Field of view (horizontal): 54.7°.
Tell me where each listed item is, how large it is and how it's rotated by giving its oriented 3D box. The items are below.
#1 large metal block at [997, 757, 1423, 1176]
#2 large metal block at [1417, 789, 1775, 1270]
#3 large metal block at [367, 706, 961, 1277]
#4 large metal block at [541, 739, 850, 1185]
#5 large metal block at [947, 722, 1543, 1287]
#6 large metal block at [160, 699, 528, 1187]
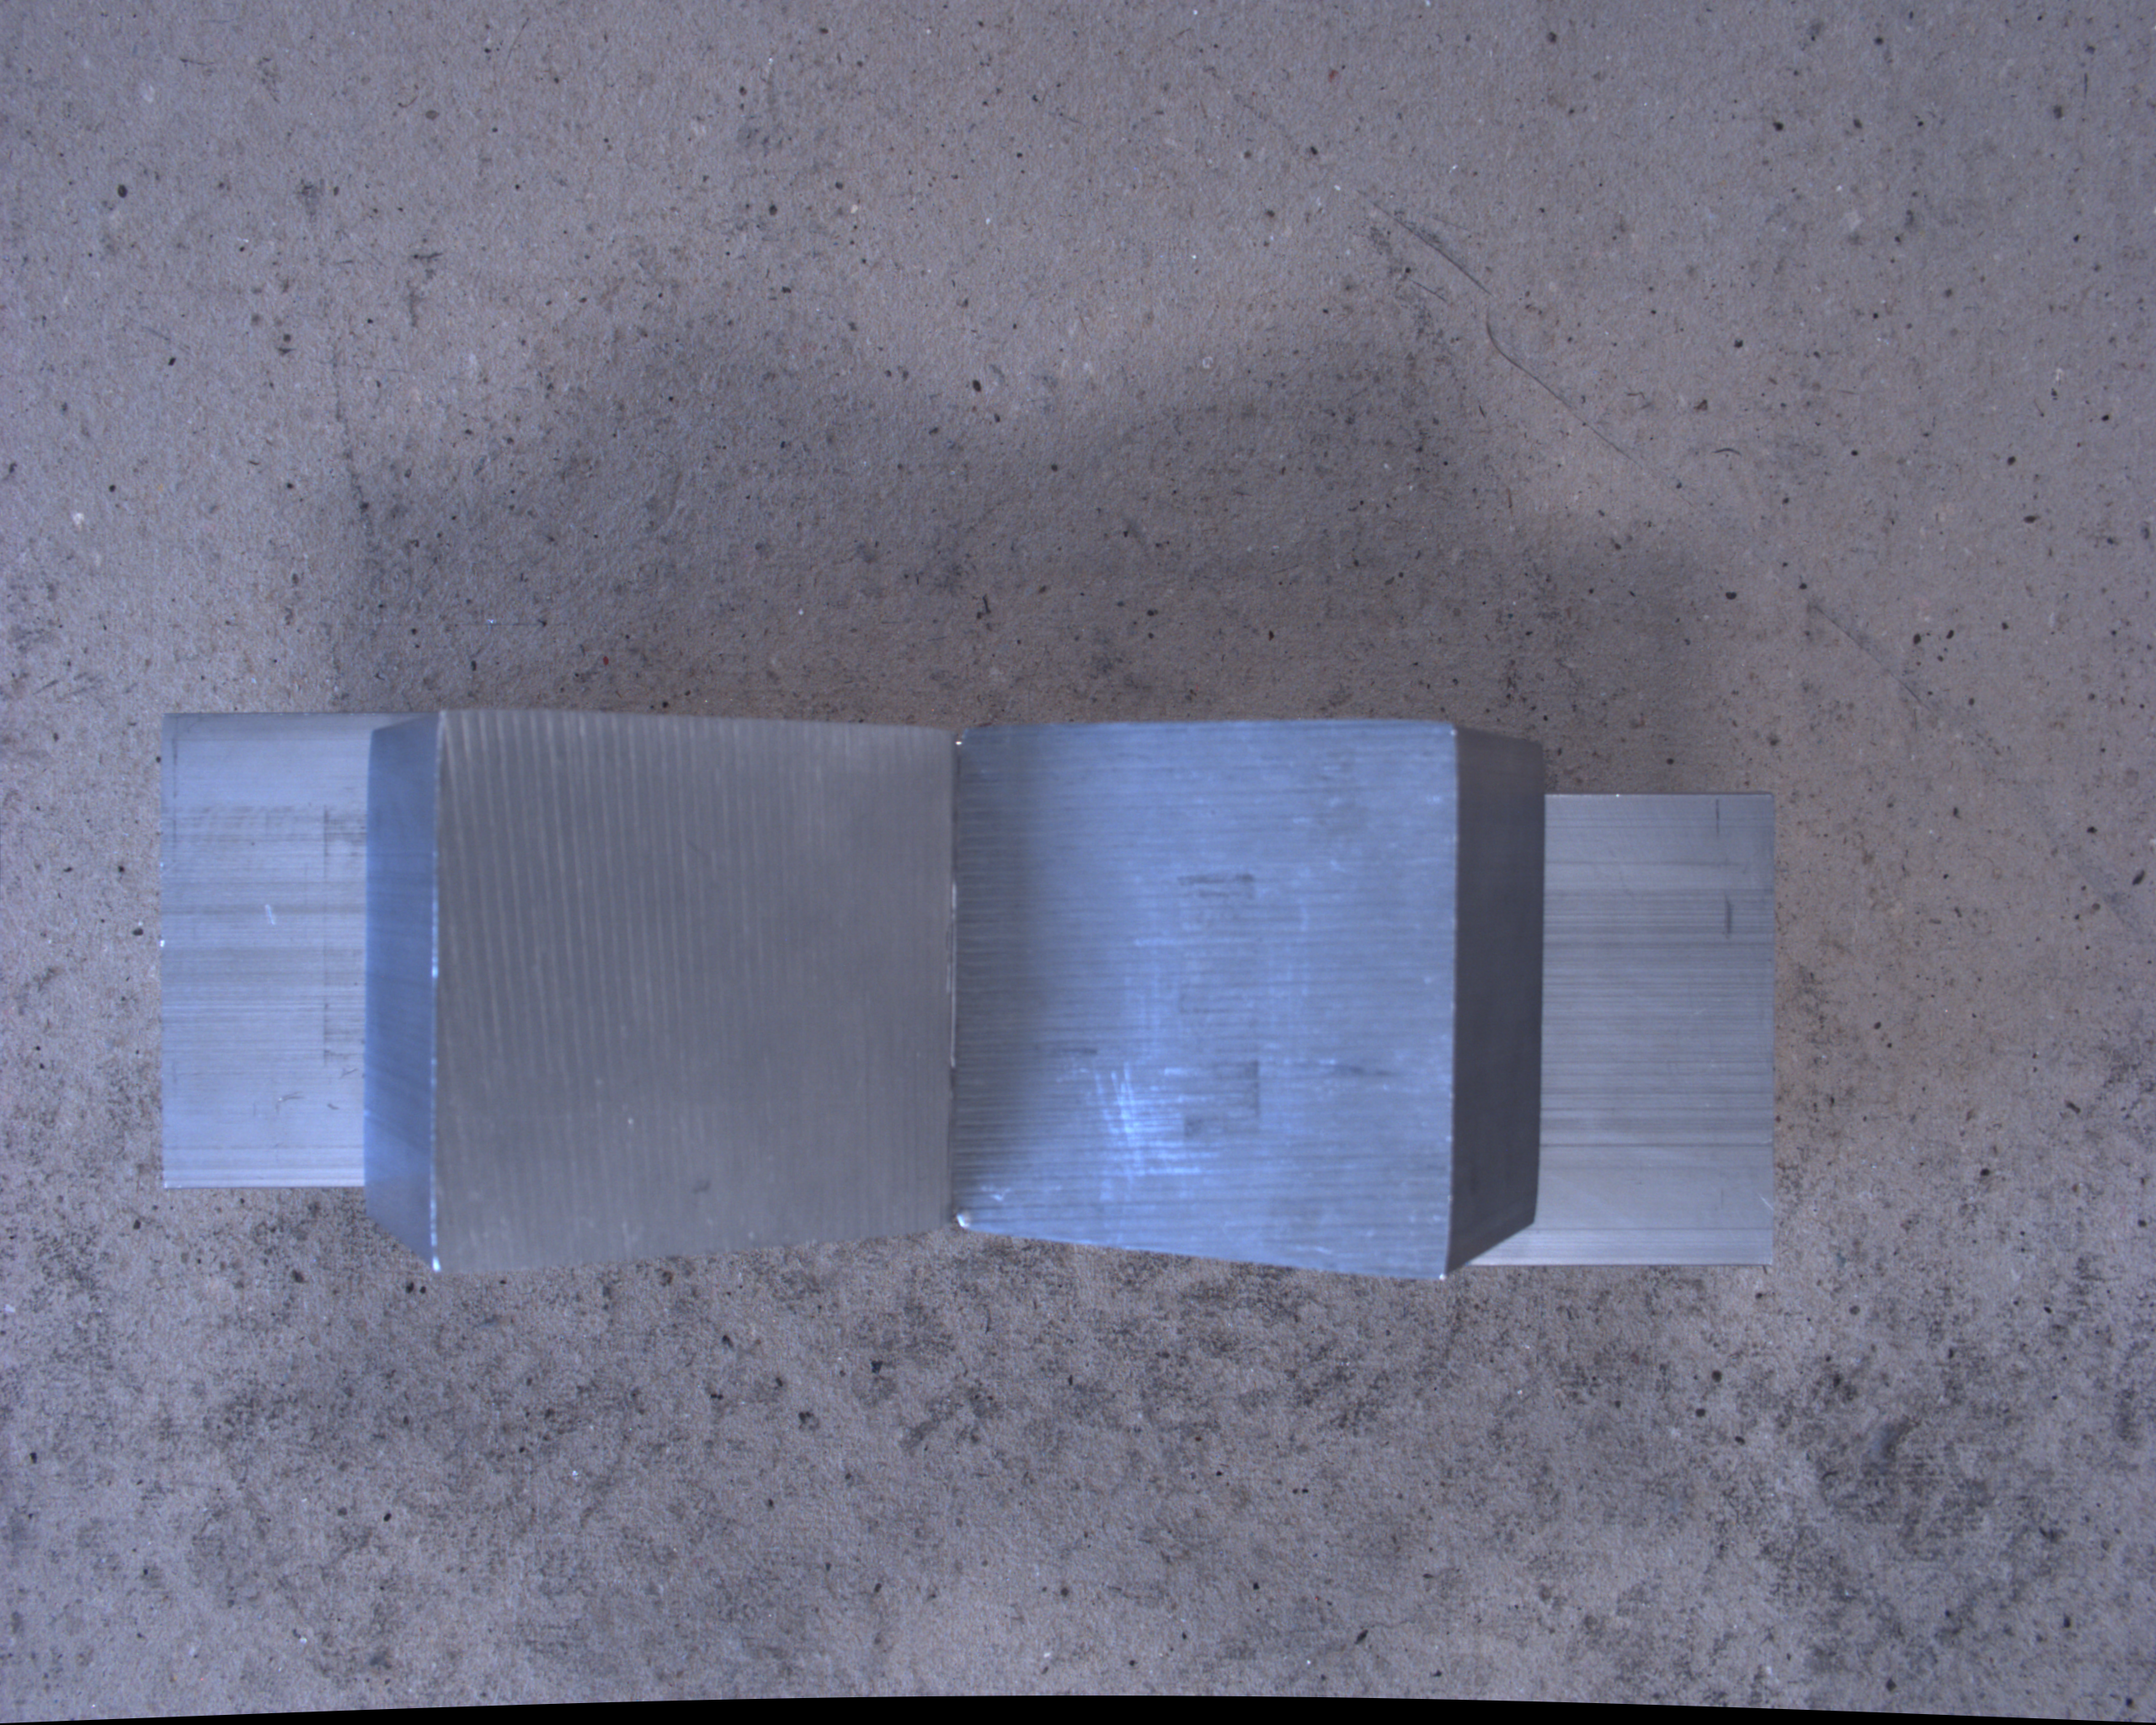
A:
[{"bbox_3d":[0.024,0.021,0.398,0.081,0.050,0.080,0,90,0],"label":"large metal block"},{"bbox_3d":[0.090,0.027,0.385,0.050,0.080,0.080,0,90,-1],"label":"large metal block"},{"bbox_3d":[-0.066,0.018,0.332,0.081,0.050,0.080,0,90,-29],"label":"large metal block"},{"bbox_3d":[-0.057,0.018,0.398,0.081,0.050,0.080,0,90,0],"label":"large metal block"},{"bbox_3d":[0.027,0.019,0.333,0.080,0.050,0.080,1,90,26],"label":"large metal block"},{"bbox_3d":[-0.125,0.014,0.382,0.050,0.080,0.080,0,89,0],"label":"large metal block"}]
